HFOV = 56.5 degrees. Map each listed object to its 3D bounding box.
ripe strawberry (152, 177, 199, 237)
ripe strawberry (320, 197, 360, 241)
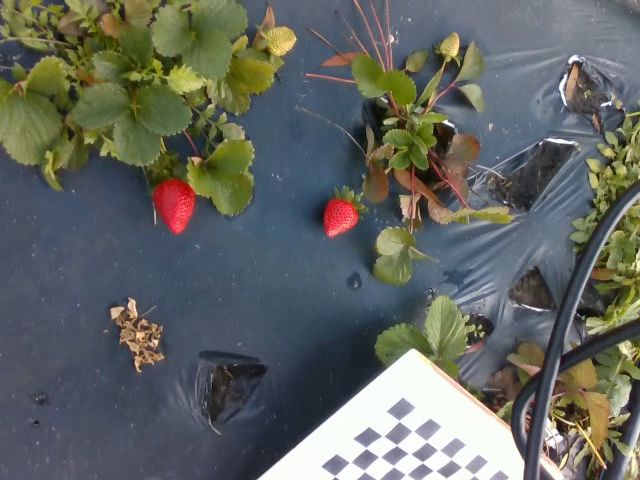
[{"bbox_3d":[-0.128,-0.026,0.512,0.046,0.050,0.050,-28,-46,25],"label":"ripe strawberry"},{"bbox_3d":[0.017,-0.017,0.573,0.041,0.052,0.045,10,-40,30],"label":"ripe strawberry"}]
